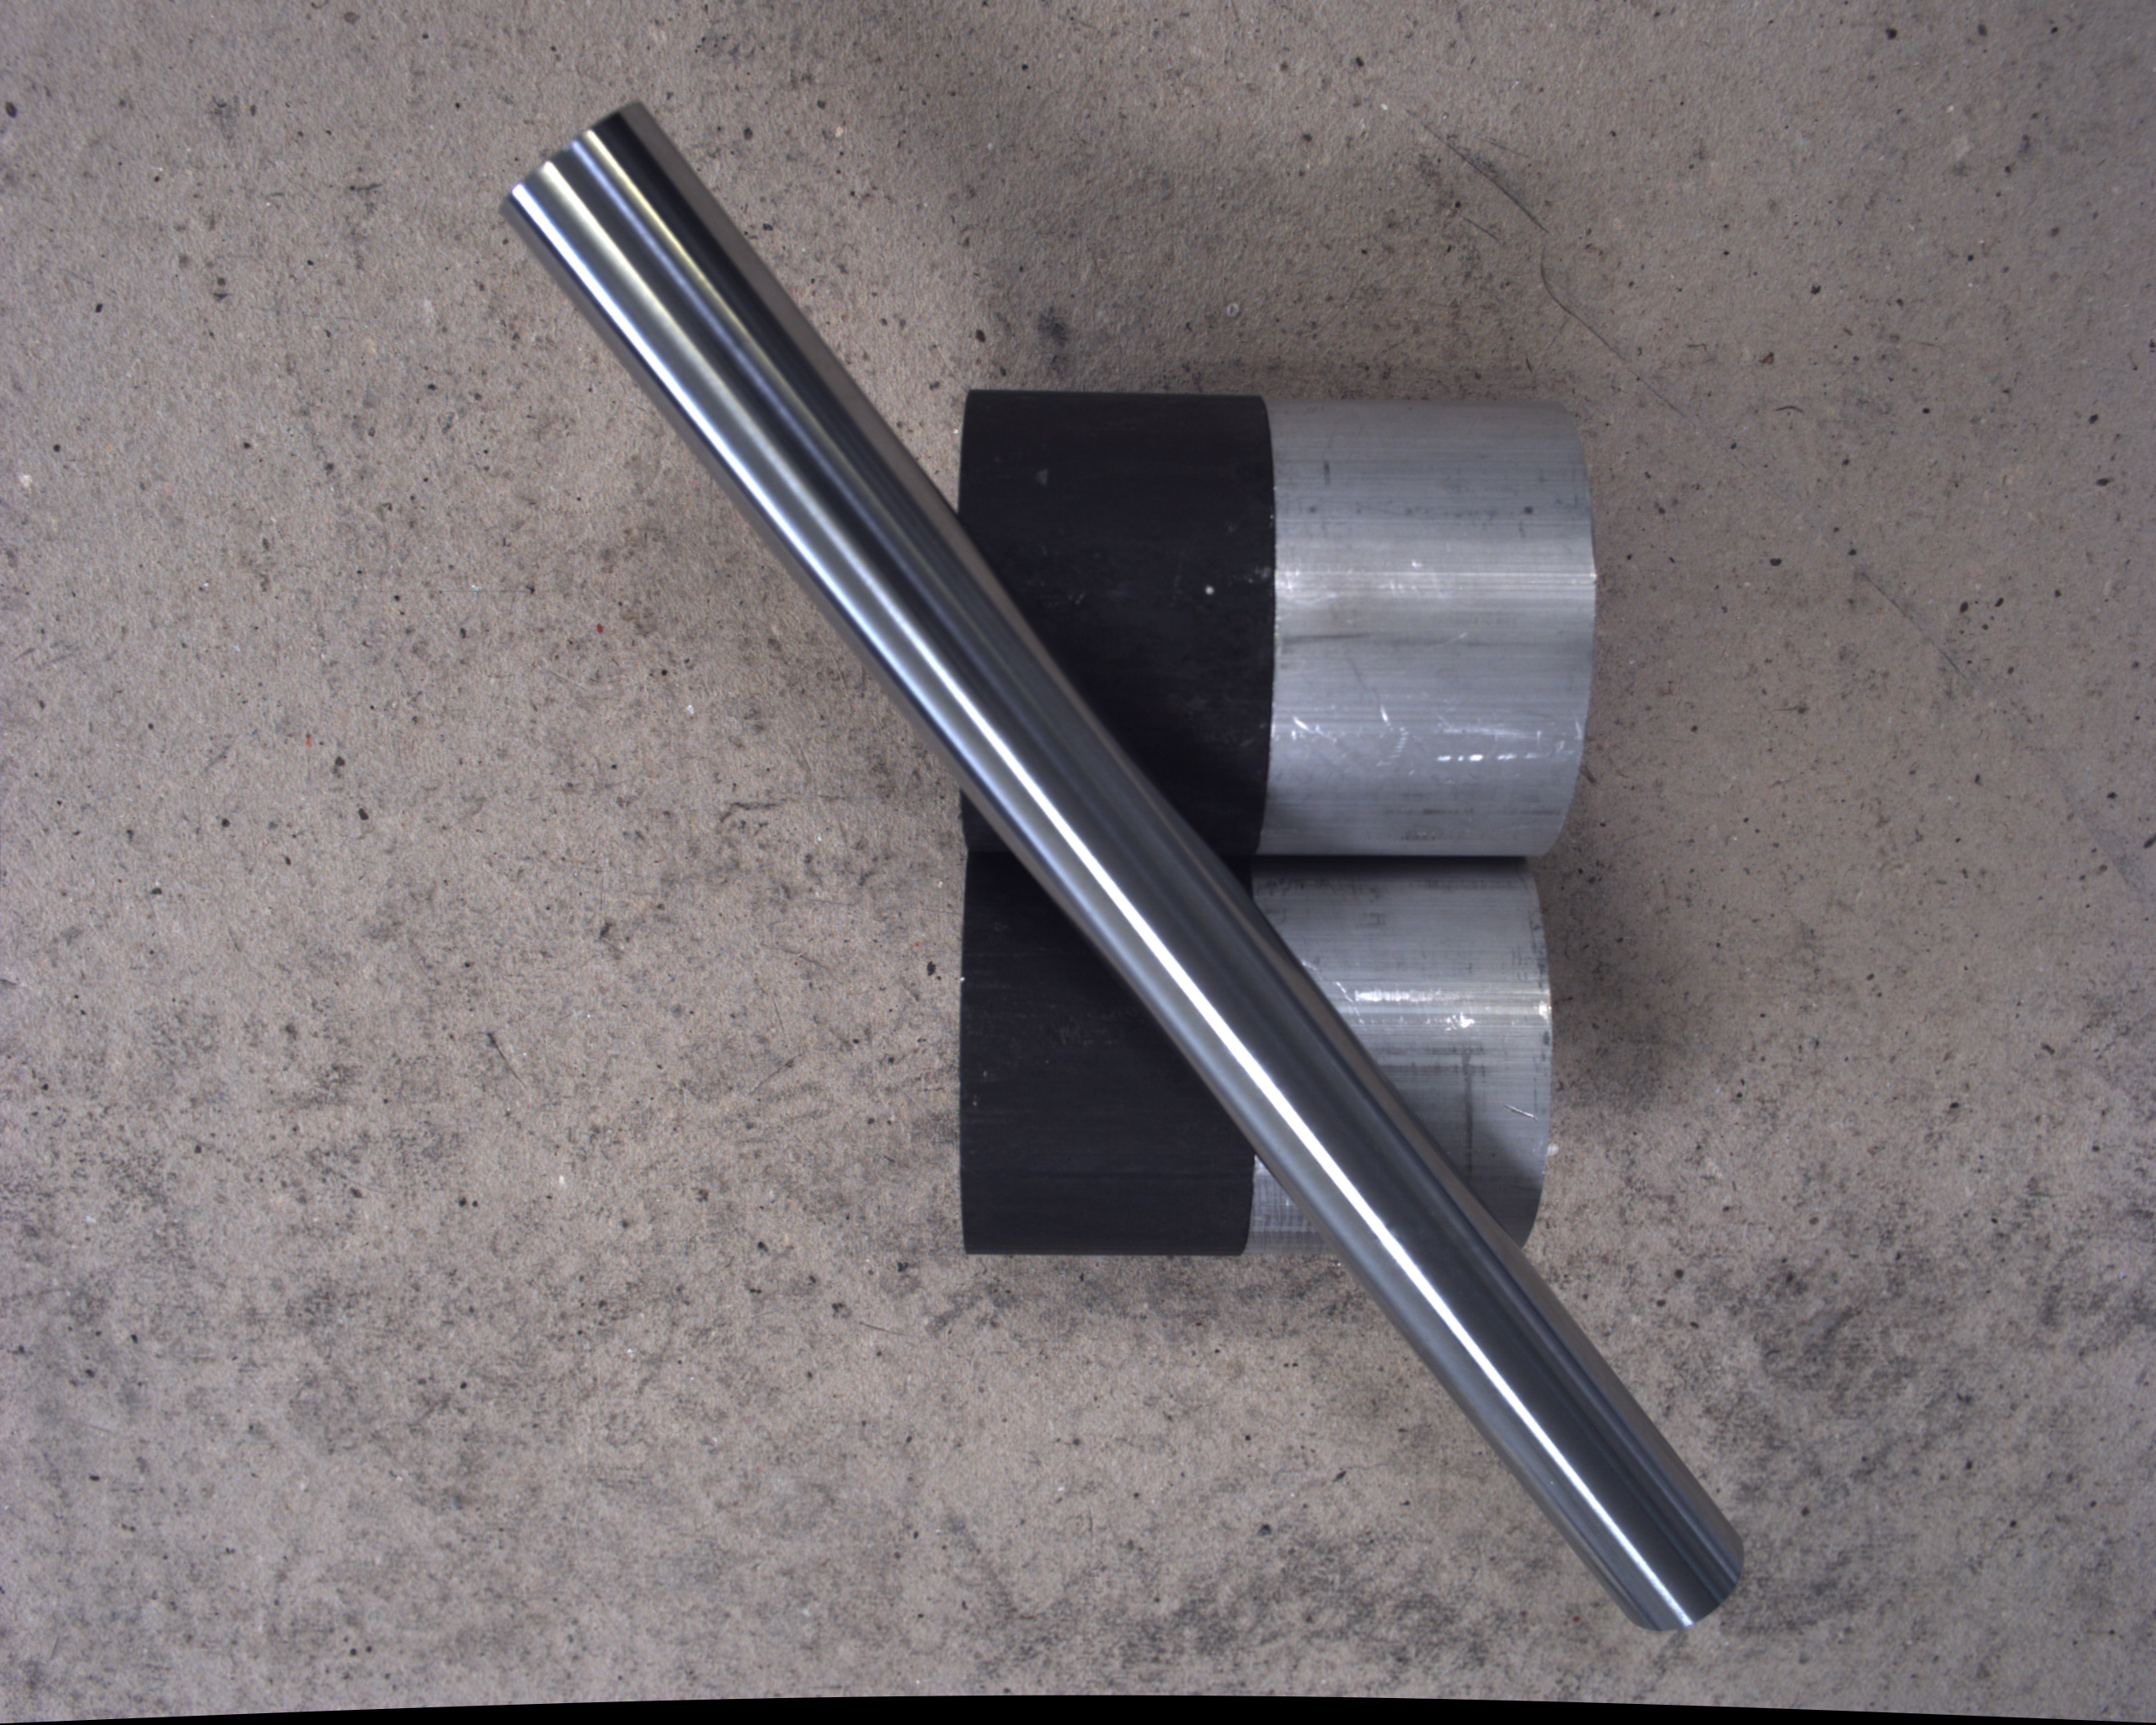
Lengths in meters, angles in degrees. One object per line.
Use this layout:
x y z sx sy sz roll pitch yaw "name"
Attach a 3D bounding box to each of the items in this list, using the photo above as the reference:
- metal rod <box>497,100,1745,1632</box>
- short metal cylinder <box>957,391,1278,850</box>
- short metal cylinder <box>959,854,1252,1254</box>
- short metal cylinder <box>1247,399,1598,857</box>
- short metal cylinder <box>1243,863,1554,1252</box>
0.019 0.015 0.331 0.025 0.025 0.300 -35 107 12 "metal rod"
0.006 -0.042 0.366 0.050 0.080 0.079 1 110 0 "short metal cylinder"
0.005 0.034 0.394 0.050 0.080 0.079 1 110 0 "short metal cylinder"
0.056 -0.041 0.367 0.050 0.080 0.079 1 110 0 "short metal cylinder"
0.056 0.033 0.395 0.050 0.080 0.079 1 110 0 "short metal cylinder"
